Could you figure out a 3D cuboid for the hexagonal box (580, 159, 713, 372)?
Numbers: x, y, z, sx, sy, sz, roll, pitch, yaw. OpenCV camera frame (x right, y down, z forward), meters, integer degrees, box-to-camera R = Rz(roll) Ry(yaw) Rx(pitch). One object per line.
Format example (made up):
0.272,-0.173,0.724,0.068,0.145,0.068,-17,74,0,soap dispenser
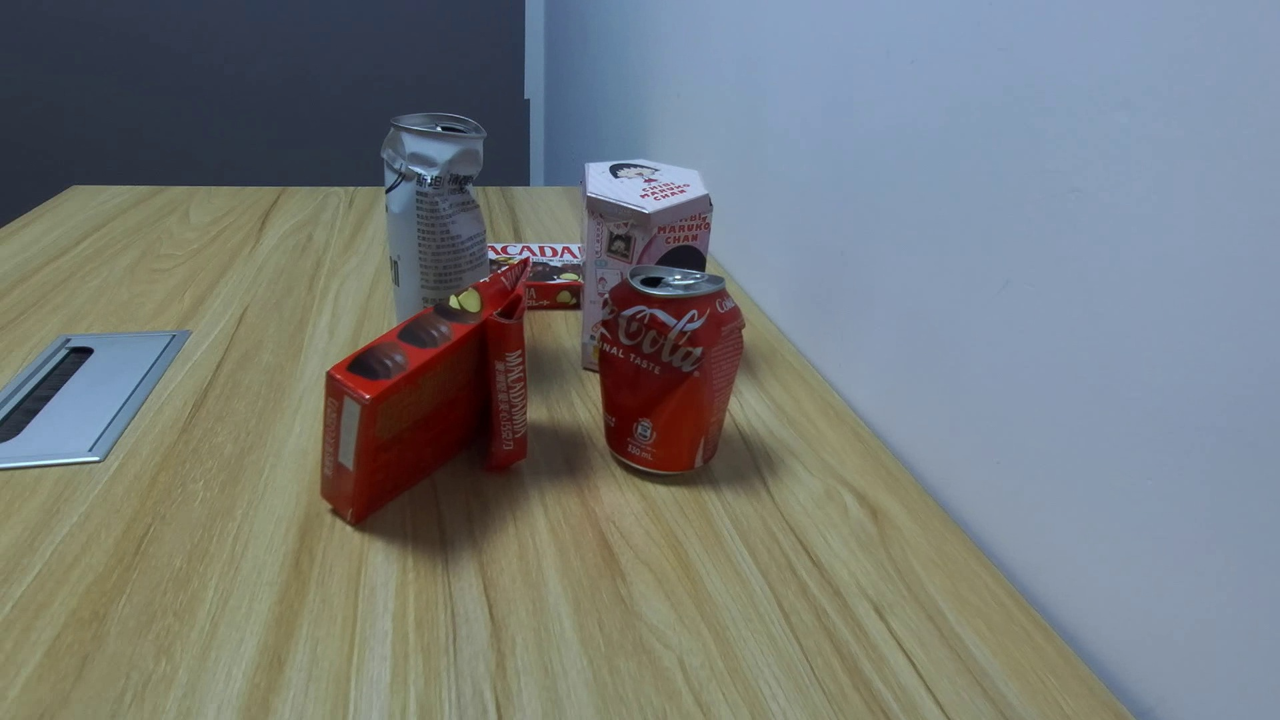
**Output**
0.001,-0.062,0.492,0.092,0.135,0.084,-14,33,-30,hexagonal box

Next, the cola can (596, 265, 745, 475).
0.017,0.006,0.393,0.066,0.112,0.069,-14,32,-31,cola can

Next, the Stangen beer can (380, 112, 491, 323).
-0.126,-0.069,0.458,0.066,0.166,0.065,-23,43,-38,Stangen beer can

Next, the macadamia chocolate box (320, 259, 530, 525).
-0.101,0.016,0.362,0.056,0.112,0.127,24,34,31,macadamia chocolate box

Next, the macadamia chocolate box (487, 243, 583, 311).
-0.074,-0.073,0.621,0.187,0.027,0.102,-3,32,-11,macadamia chocolate box
